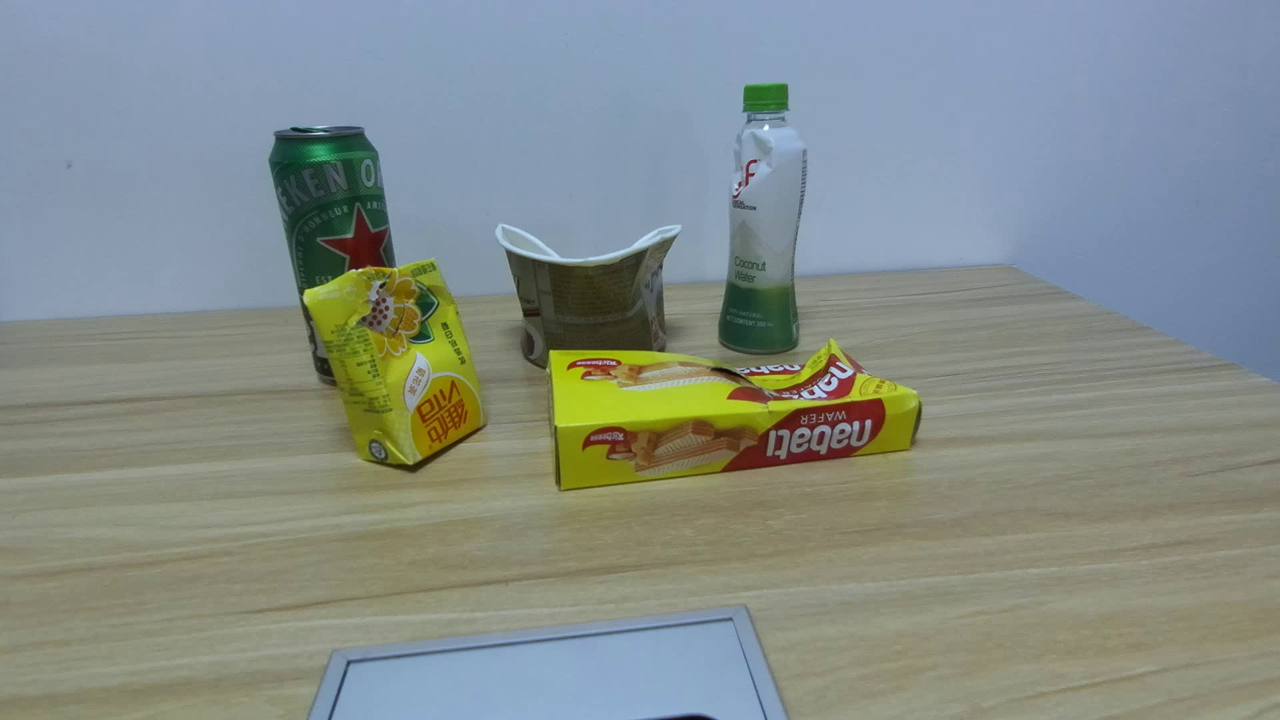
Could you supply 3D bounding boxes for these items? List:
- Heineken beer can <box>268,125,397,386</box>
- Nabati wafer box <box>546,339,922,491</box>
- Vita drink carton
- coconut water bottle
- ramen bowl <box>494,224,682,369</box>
[{"bbox_3d":[-0.201,-0.068,0.481,0.067,0.169,0.067,-2,22,1],"label":"Heineken beer can"},{"bbox_3d":[0.050,0.024,0.417,0.204,0.042,0.106,-4,24,-9],"label":"Nabati wafer box"},{"bbox_3d":[-0.137,-0.001,0.401,0.042,0.108,0.087,-4,16,31],"label":"Vita drink carton"},{"bbox_3d":[0.089,-0.100,0.515,0.069,0.186,0.069,-2,20,1],"label":"coconut water bottle"},{"bbox_3d":[-0.041,-0.050,0.522,0.137,0.098,0.137,-3,23,2],"label":"ramen bowl"}]
